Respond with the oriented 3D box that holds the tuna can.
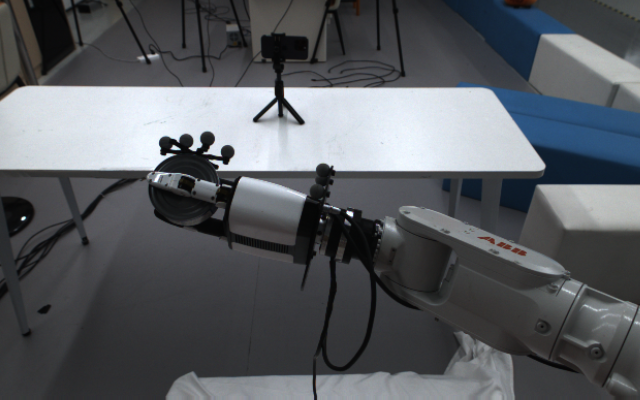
[{"bbox_3d":[-0.165,-0.012,0.603,0.085,0.034,0.085,1,73,-2],"label":"tuna can"}]
